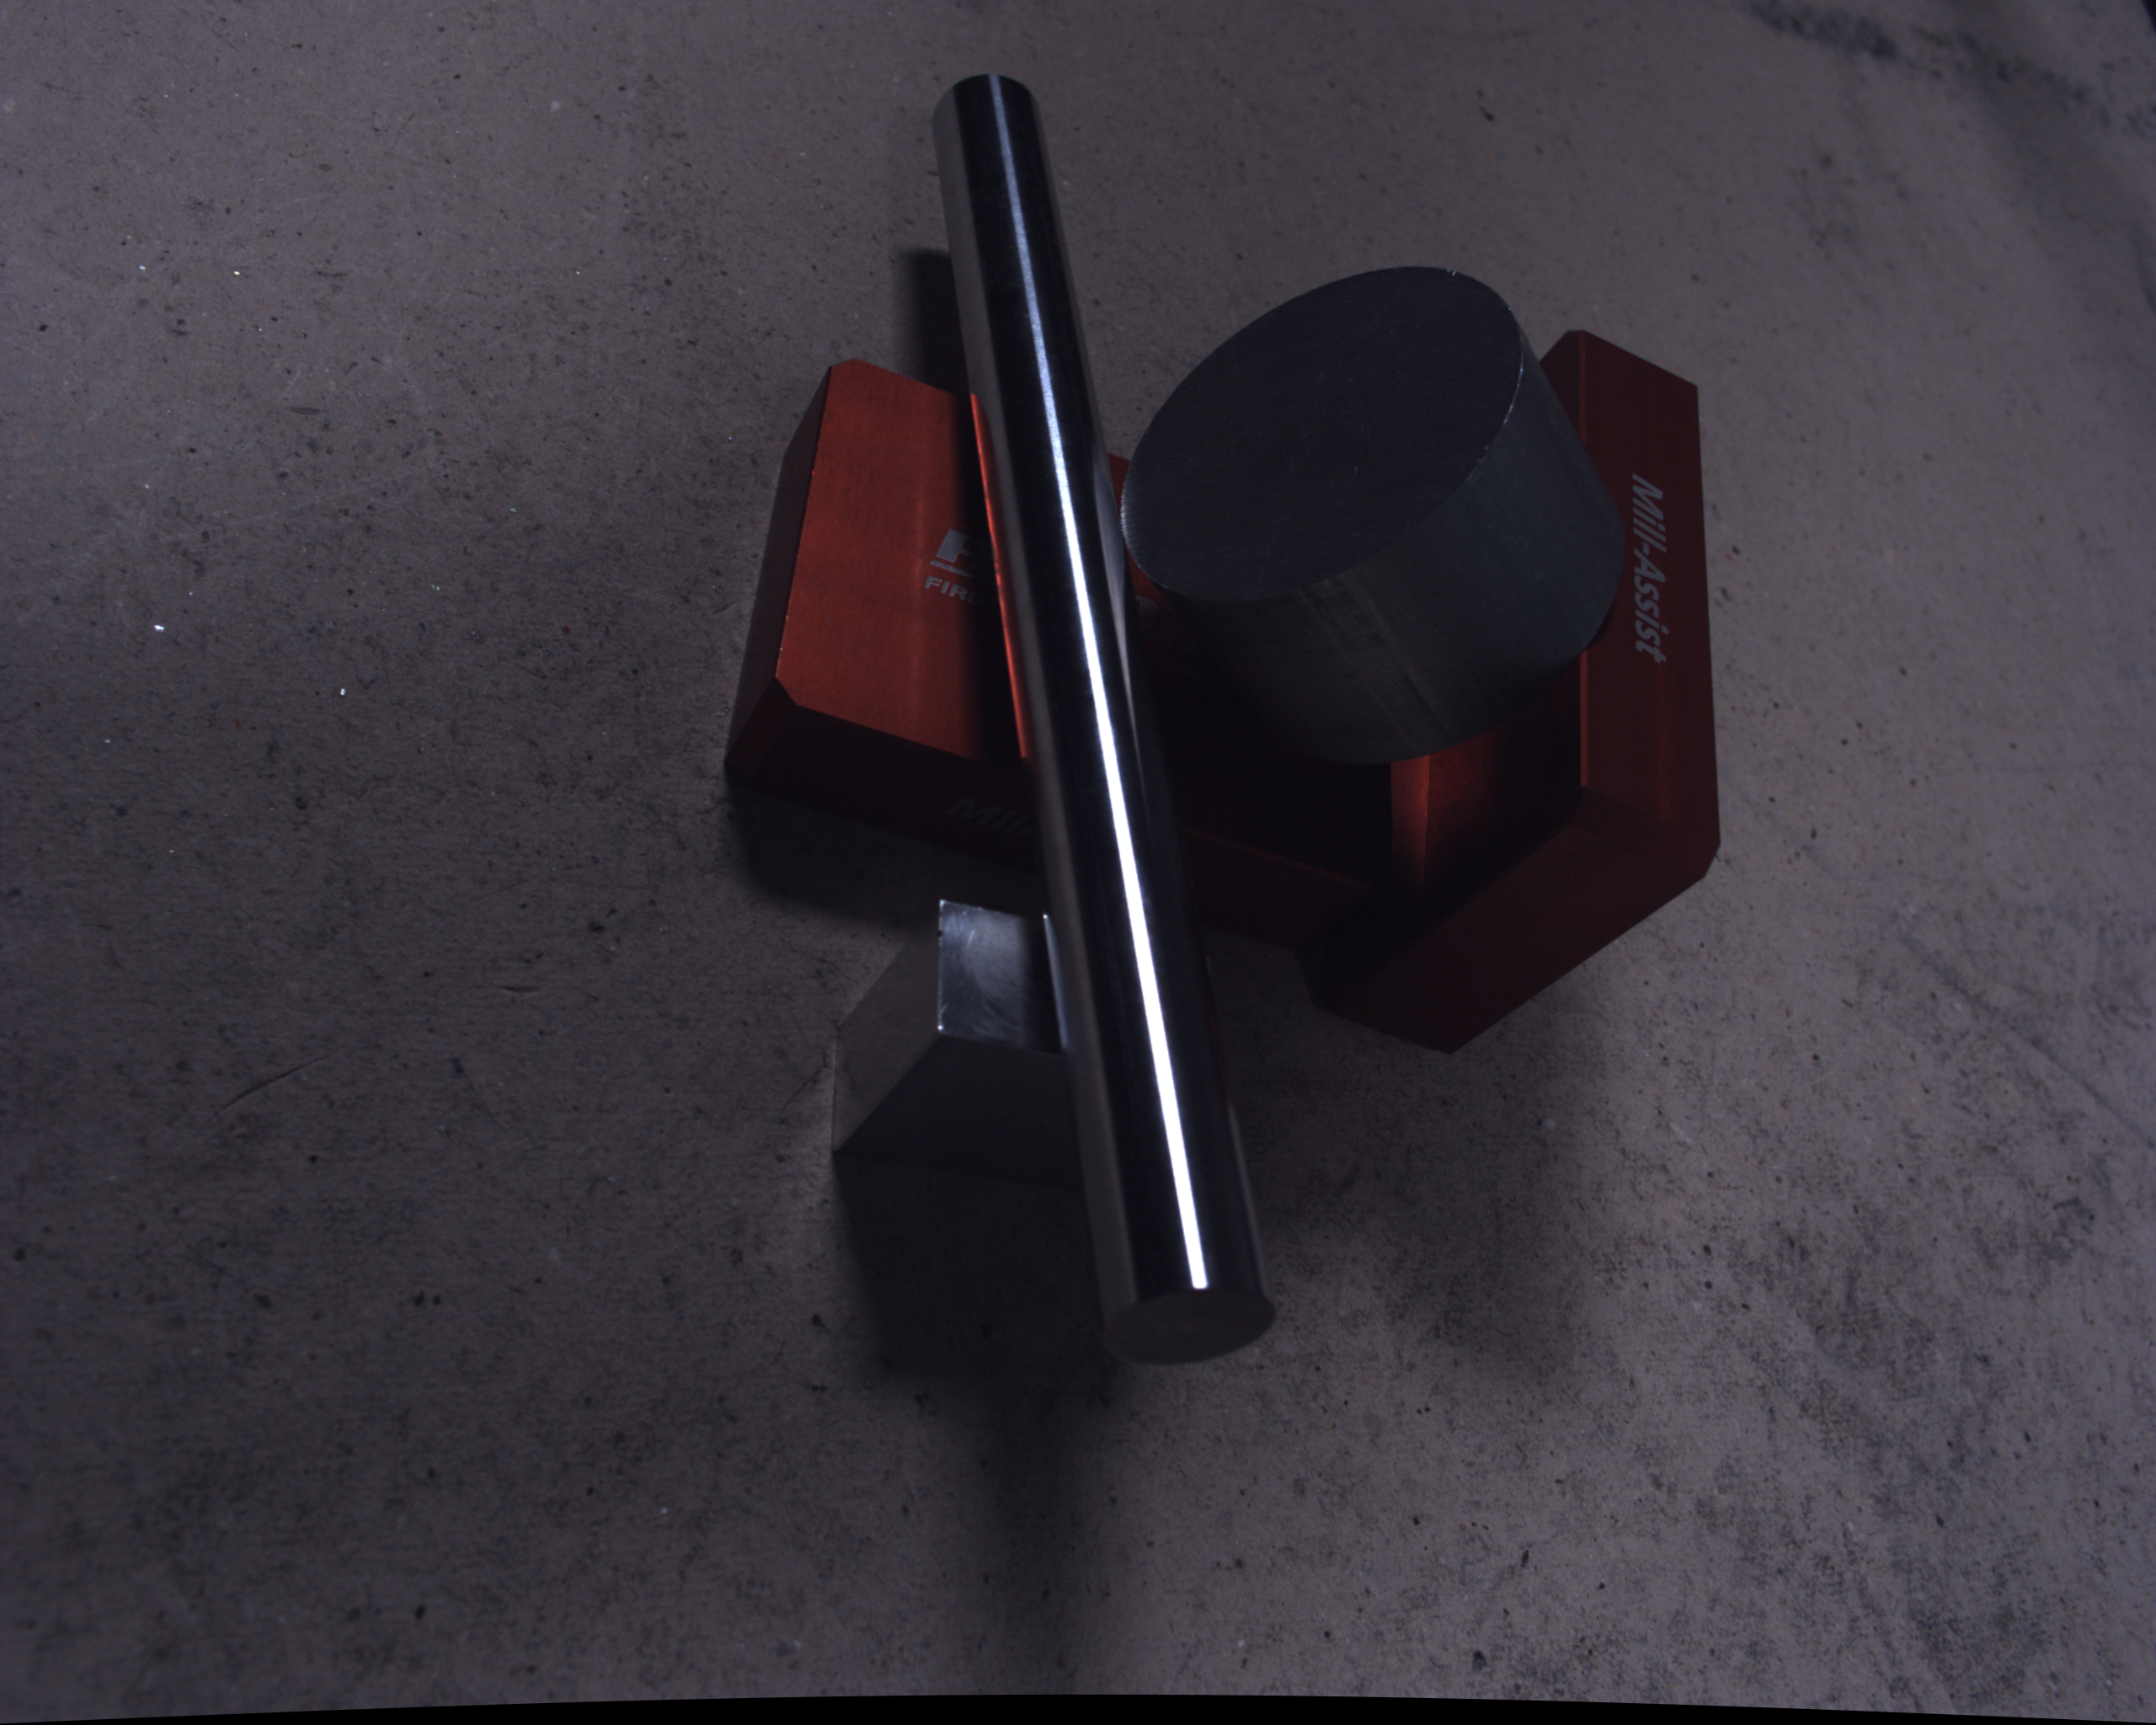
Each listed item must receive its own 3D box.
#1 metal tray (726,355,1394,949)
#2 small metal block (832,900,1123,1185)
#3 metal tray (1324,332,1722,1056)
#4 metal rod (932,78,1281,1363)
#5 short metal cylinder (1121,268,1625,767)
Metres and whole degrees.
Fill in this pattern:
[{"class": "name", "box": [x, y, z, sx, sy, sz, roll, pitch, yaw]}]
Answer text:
[{"class": "metal tray", "box": [0.001, -0.042, 0.429, 0.131, 0.030, 0.090, 17, 55, -19]}, {"class": "small metal block", "box": [-0.010, 0.033, 0.364, 0.050, 0.050, 0.025, 12, 57, -22]}, {"class": "metal tray", "box": [0.091, -0.036, 0.436, 0.030, 0.090, 0.130, 21, 54, -16]}, {"class": "metal rod", "box": [-0.002, -0.052, 0.387, 0.025, 0.025, 0.300, 10, 48, -23]}, {"class": "short metal cylinder", "box": [0.055, -0.065, 0.394, 0.050, 0.080, 0.080, 46, 41, -41]}]
